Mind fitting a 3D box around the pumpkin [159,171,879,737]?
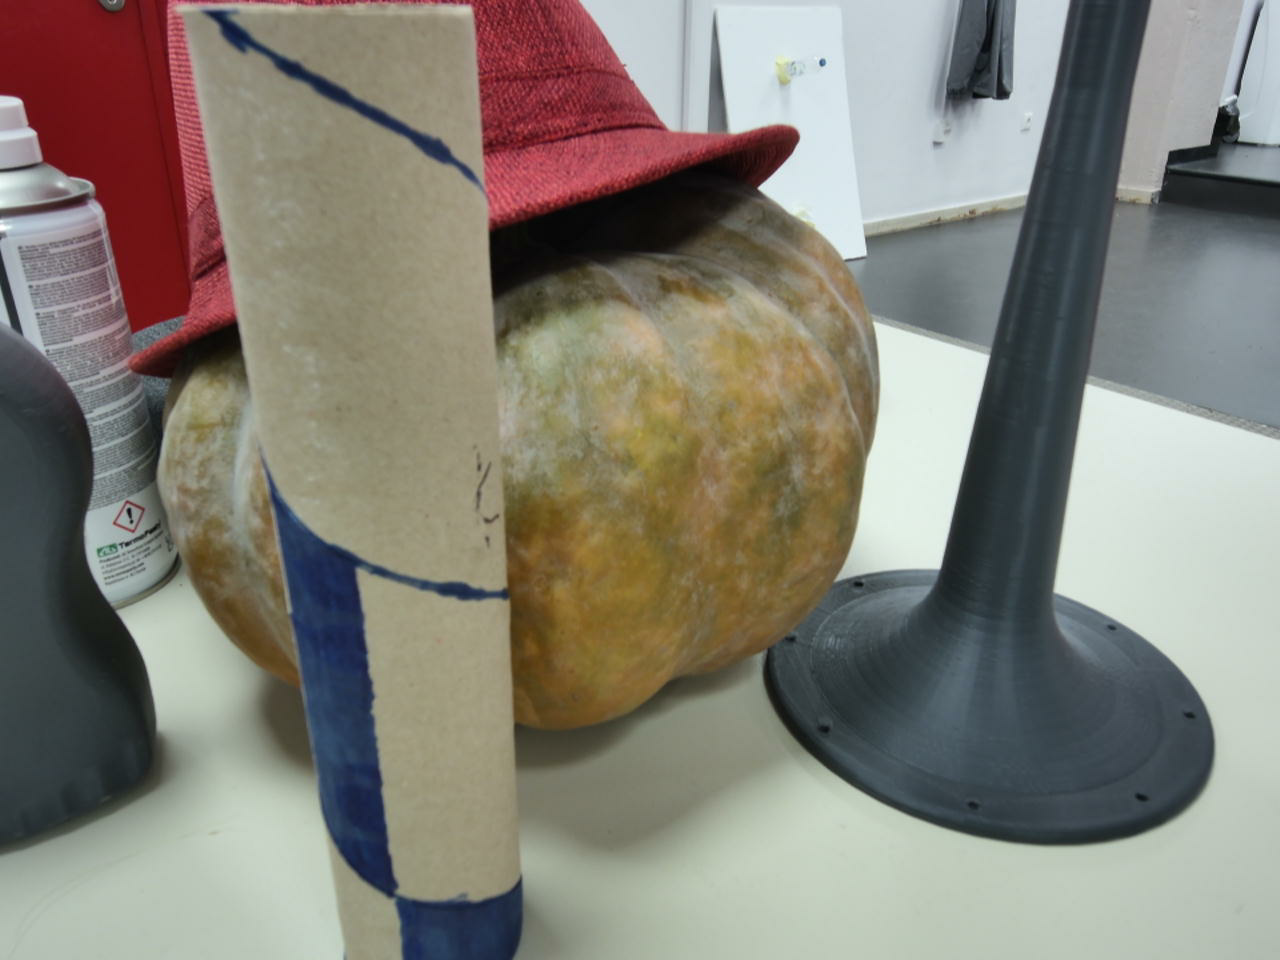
[{"bbox_3d":[-0.040,-0.019,0.358,0.252,0.169,0.251,0,24,0],"label":"pumpkin"}]
